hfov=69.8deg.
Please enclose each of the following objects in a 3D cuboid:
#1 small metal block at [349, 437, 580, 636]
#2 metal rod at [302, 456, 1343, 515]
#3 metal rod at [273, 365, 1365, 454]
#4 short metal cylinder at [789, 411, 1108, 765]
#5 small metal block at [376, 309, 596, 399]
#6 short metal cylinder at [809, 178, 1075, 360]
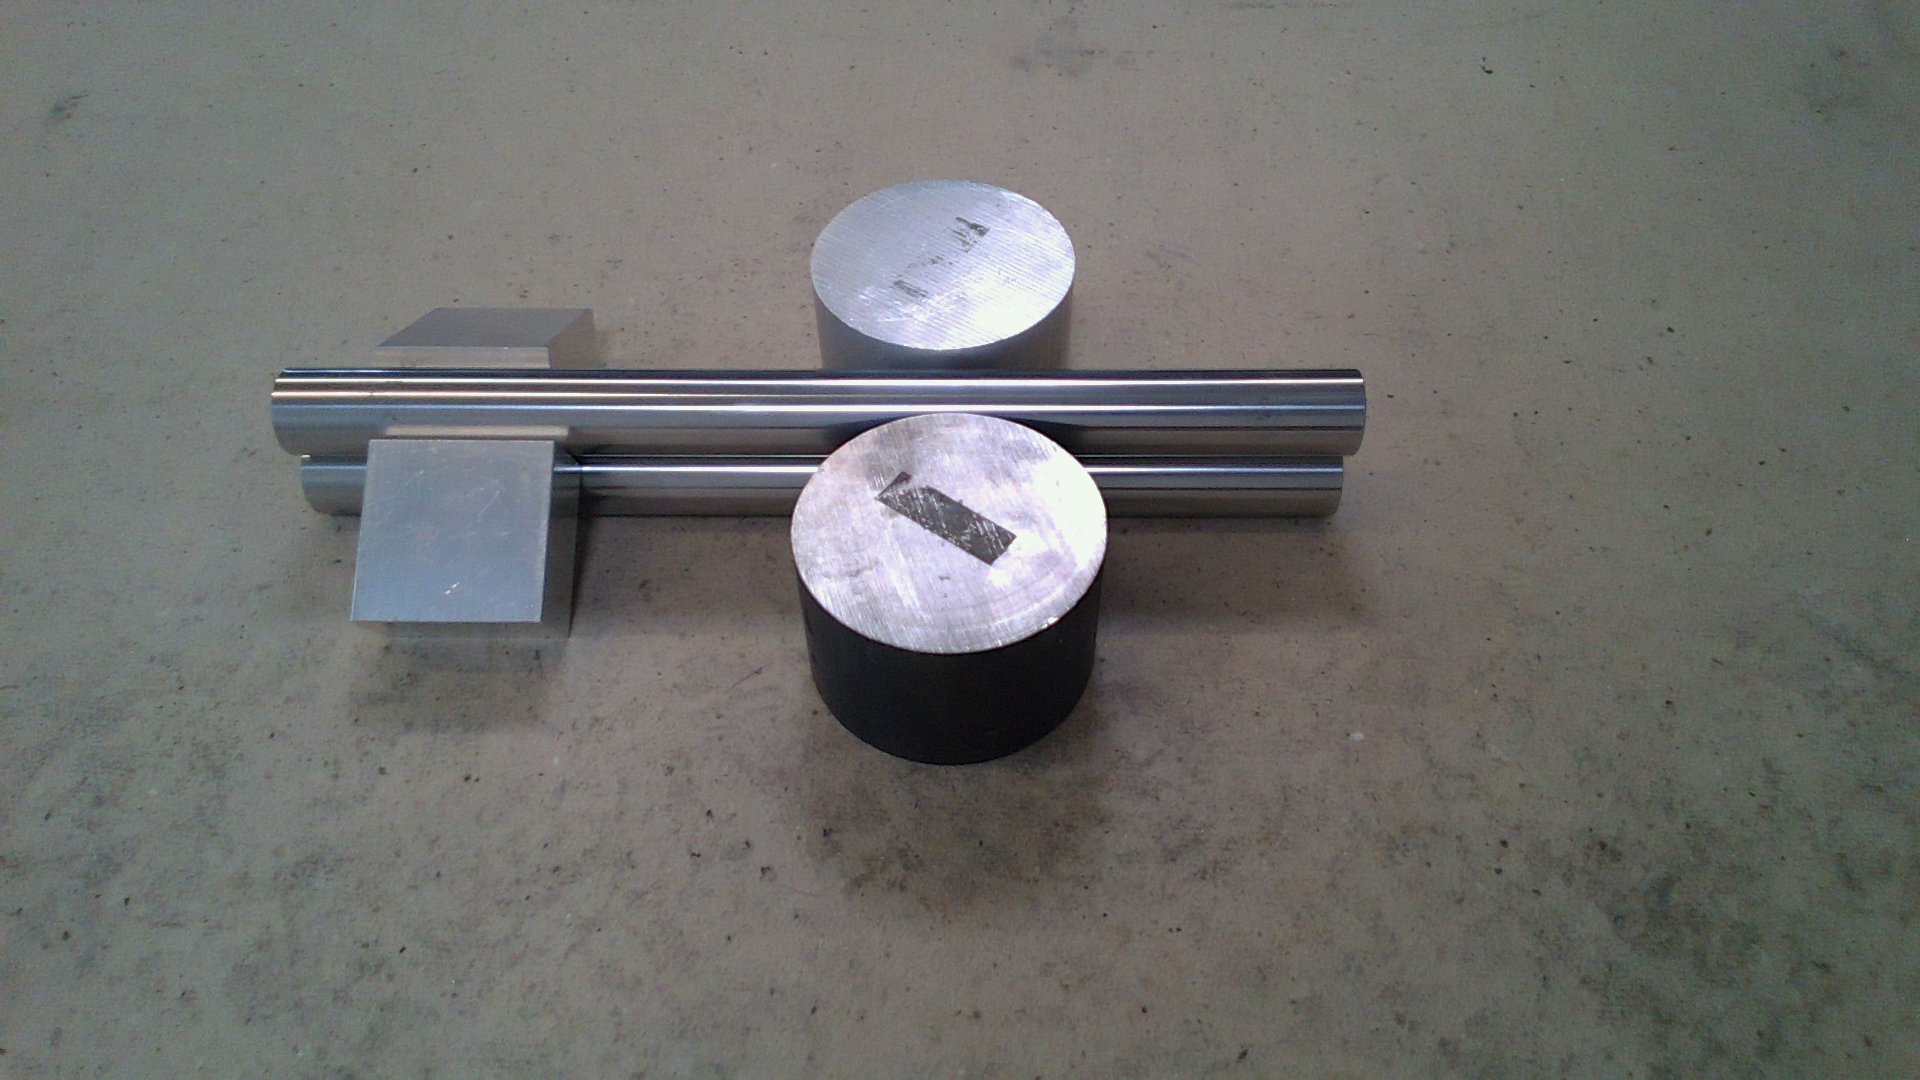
[{"bbox_3d":[-0.135,0.000,0.379,0.050,0.025,0.050,1,76,0],"label":"small metal block"},{"bbox_3d":[-0.039,-0.020,0.409,0.300,0.025,0.025,0,50,0],"label":"metal rod"},{"bbox_3d":[-0.039,-0.037,0.390,0.300,0.025,0.025,0,50,0],"label":"metal rod"},{"bbox_3d":[-0.003,0.012,0.365,0.080,0.050,0.080,0,50,0],"label":"short metal cylinder"},{"bbox_3d":[-0.143,-0.053,0.424,0.050,0.025,0.050,0,23,0],"label":"small metal block"},{"bbox_3d":[-0.005,-0.069,0.433,0.080,0.050,0.080,0,50,0],"label":"short metal cylinder"}]
